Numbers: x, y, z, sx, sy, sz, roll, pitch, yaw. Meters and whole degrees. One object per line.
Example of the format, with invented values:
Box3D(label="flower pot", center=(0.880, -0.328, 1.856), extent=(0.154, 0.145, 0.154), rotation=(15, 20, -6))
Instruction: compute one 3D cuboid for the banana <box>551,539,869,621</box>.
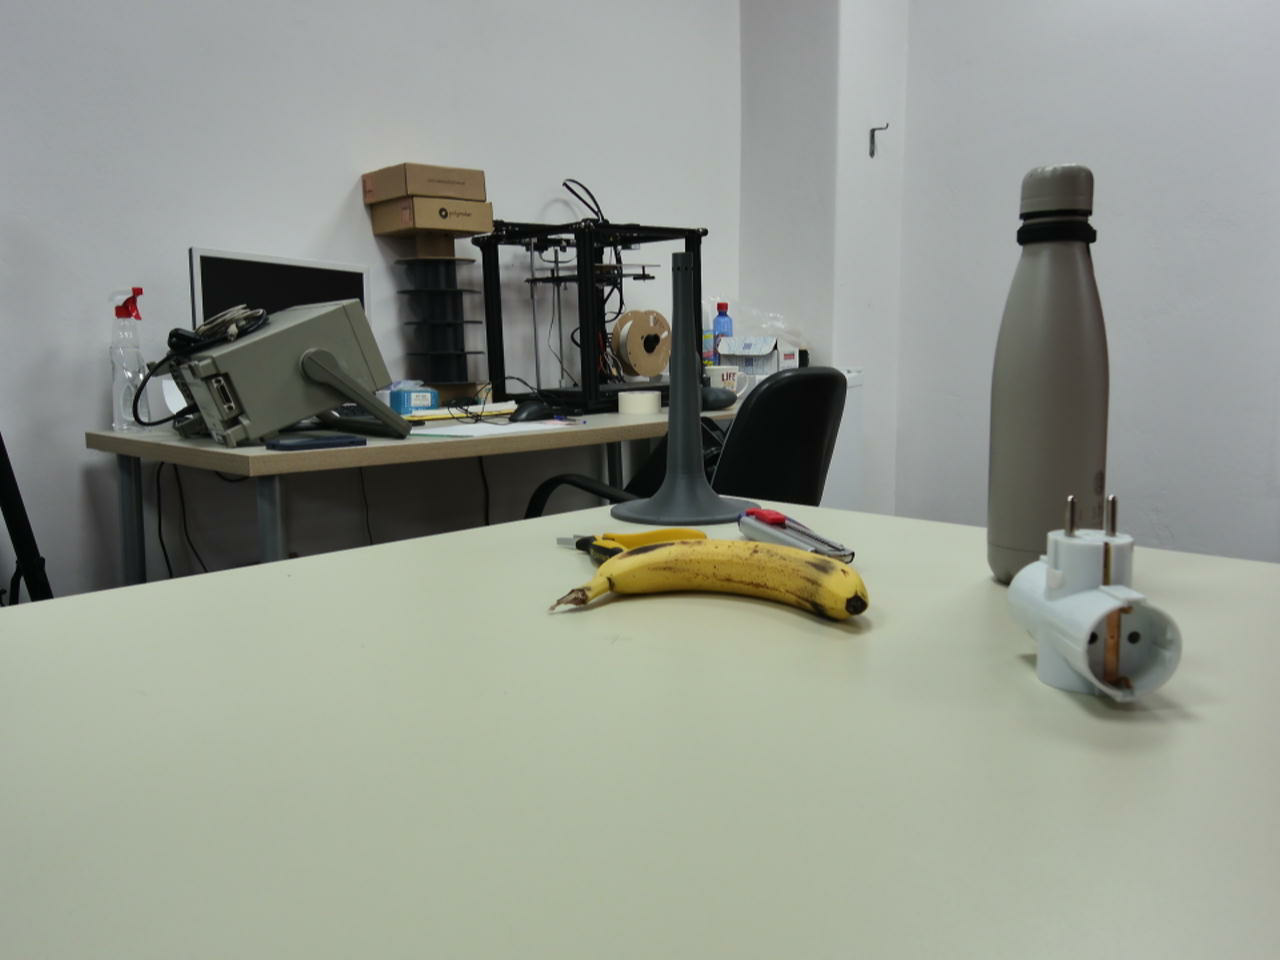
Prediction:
Box3D(label="banana", center=(0.054, 0.062, 0.638), extent=(0.186, 0.038, 0.097), rotation=(3, 7, 19))
